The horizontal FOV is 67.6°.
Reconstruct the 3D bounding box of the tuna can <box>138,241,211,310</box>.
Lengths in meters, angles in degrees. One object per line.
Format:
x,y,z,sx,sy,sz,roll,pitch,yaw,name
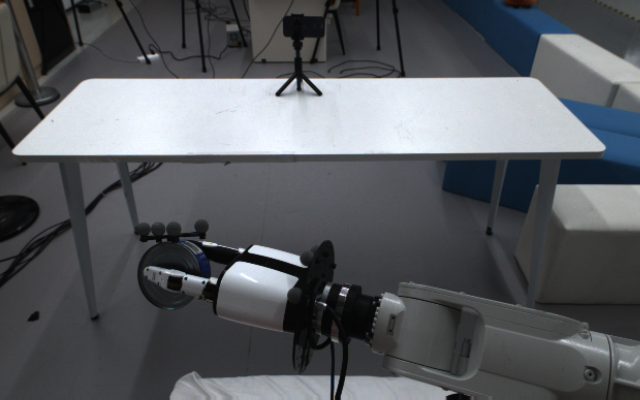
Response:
-0.178,0.096,0.614,0.085,0.085,0.034,10,2,11,tuna can
